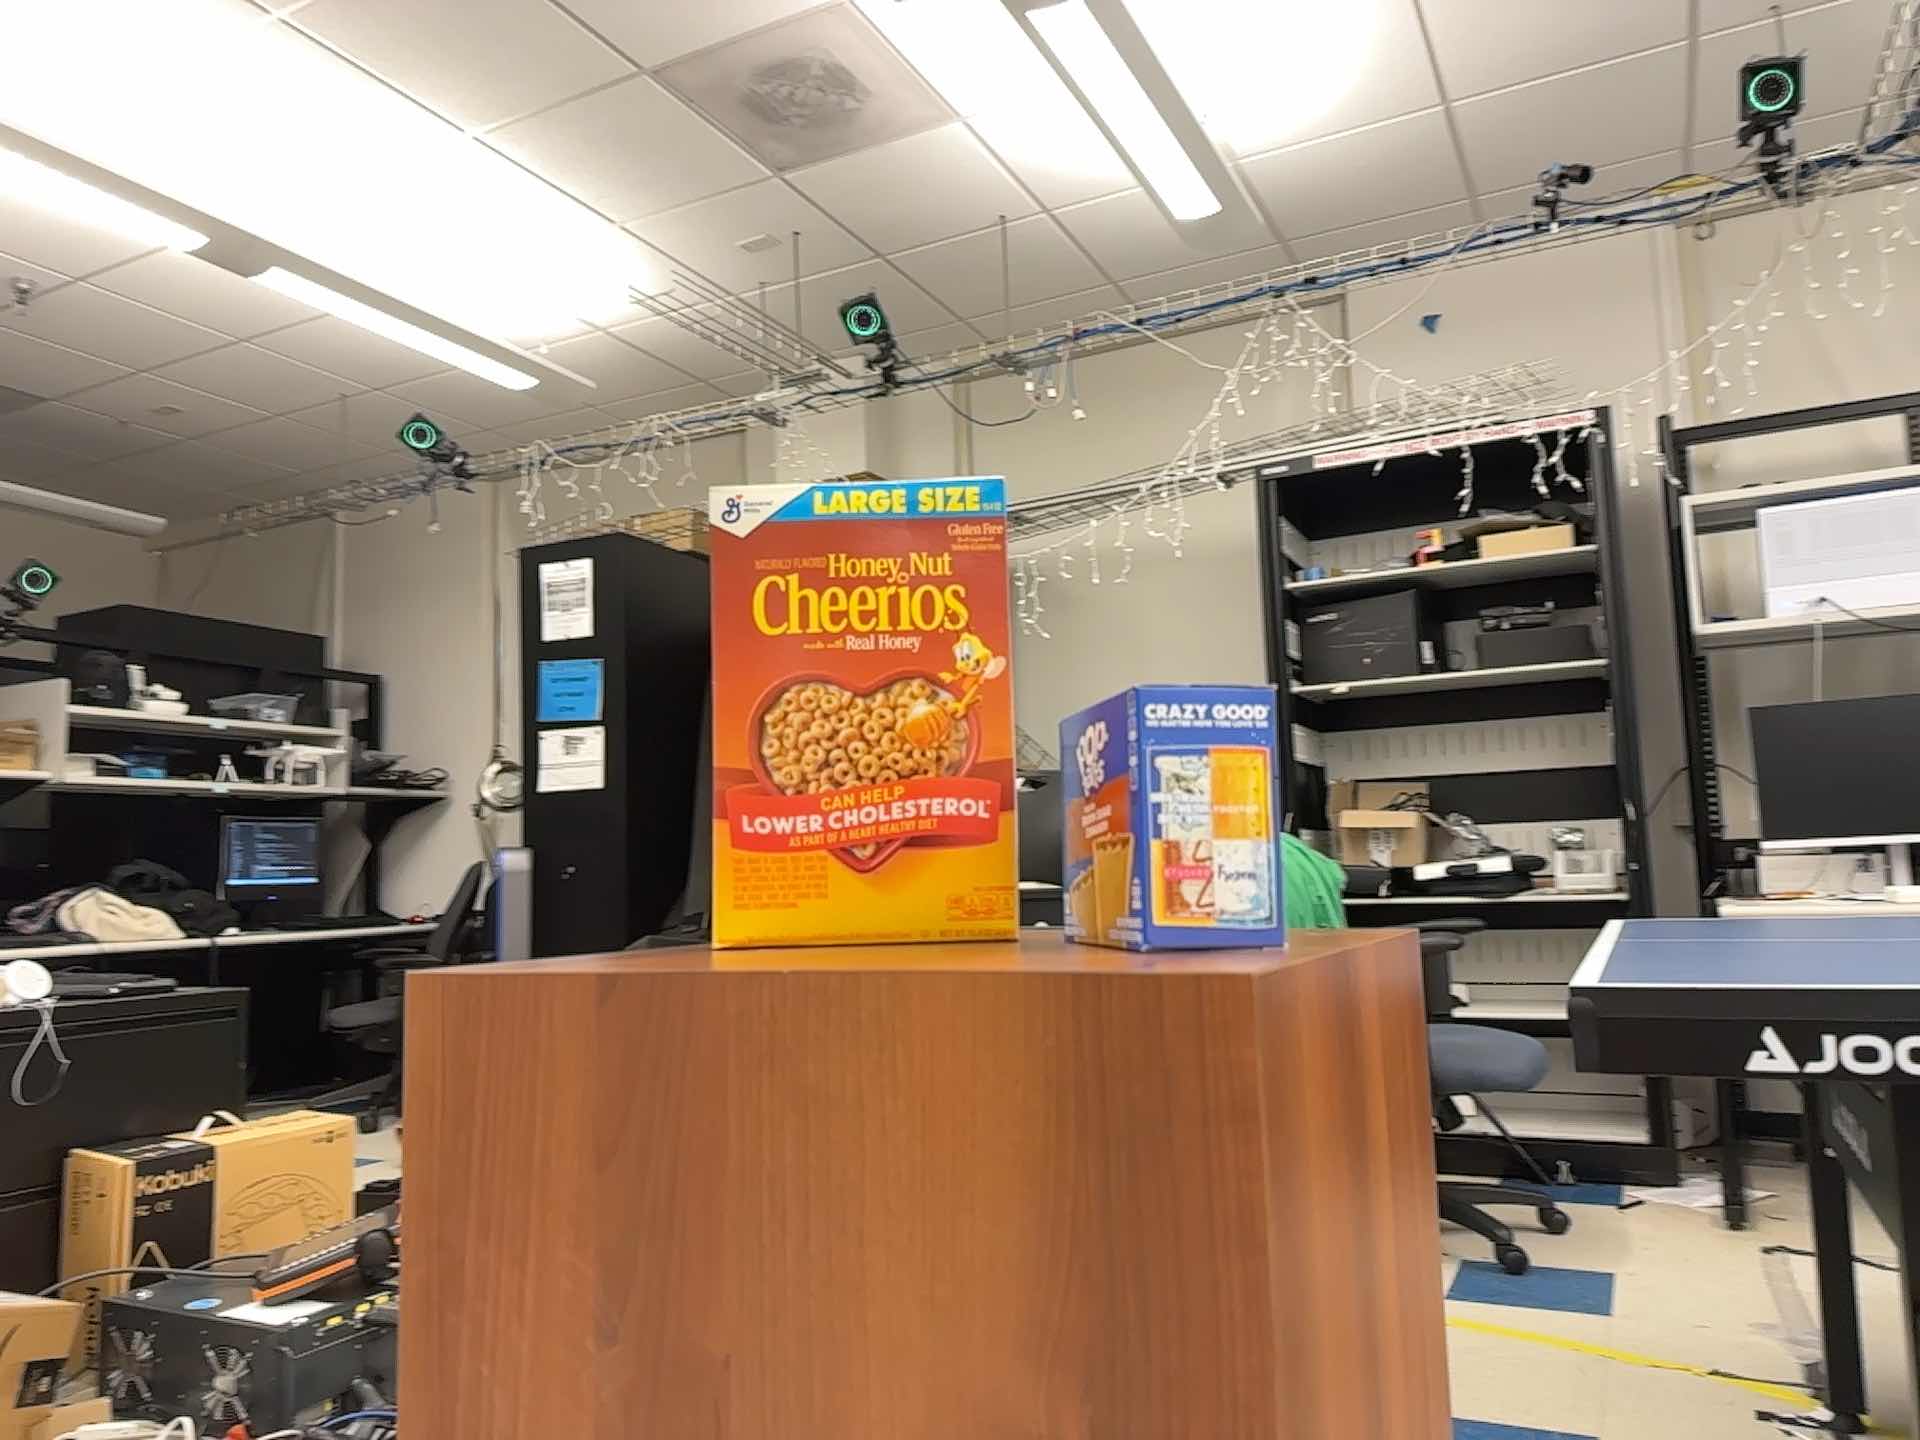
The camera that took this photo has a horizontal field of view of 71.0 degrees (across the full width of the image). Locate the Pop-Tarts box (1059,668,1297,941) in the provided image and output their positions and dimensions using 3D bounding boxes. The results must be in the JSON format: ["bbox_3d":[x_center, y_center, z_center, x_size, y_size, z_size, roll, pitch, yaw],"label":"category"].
[{"bbox_3d":[0.117,0.054,0.770,0.075,0.135,0.161,2,-9,-11],"label":"Pop-Tarts box"}]

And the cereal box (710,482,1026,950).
[{"bbox_3d":[-0.063,-0.004,0.901,0.195,0.297,0.065,-1,-9,-2],"label":"cereal box"}]
